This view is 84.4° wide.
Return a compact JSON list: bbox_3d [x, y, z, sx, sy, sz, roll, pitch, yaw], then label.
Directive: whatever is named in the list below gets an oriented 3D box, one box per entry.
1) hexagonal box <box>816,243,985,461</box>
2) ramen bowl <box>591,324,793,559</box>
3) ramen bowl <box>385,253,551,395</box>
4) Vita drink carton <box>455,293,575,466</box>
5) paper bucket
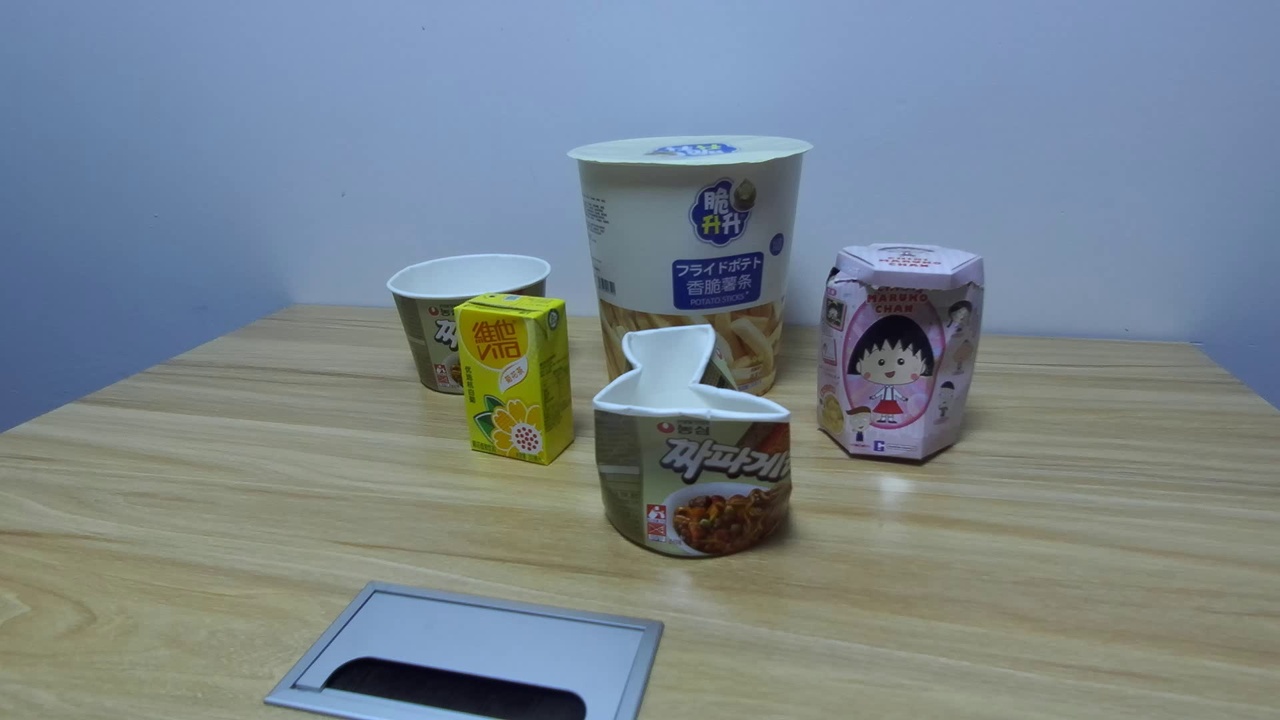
[{"bbox_3d":[0.175,-0.008,0.487,0.090,0.134,0.090,-13,24,-31],"label":"hexagonal box"},{"bbox_3d":[0.034,0.043,0.423,0.111,0.093,0.128,1,23,8],"label":"ramen bowl"},{"bbox_3d":[-0.146,-0.034,0.639,0.140,0.095,0.140,-2,22,1],"label":"ramen bowl"},{"bbox_3d":[-0.085,0.012,0.495,0.066,0.109,0.044,9,24,24],"label":"Vita drink carton"},{"bbox_3d":[0.041,-0.075,0.583,0.198,0.194,0.198,-2,22,1],"label":"paper bucket"}]
